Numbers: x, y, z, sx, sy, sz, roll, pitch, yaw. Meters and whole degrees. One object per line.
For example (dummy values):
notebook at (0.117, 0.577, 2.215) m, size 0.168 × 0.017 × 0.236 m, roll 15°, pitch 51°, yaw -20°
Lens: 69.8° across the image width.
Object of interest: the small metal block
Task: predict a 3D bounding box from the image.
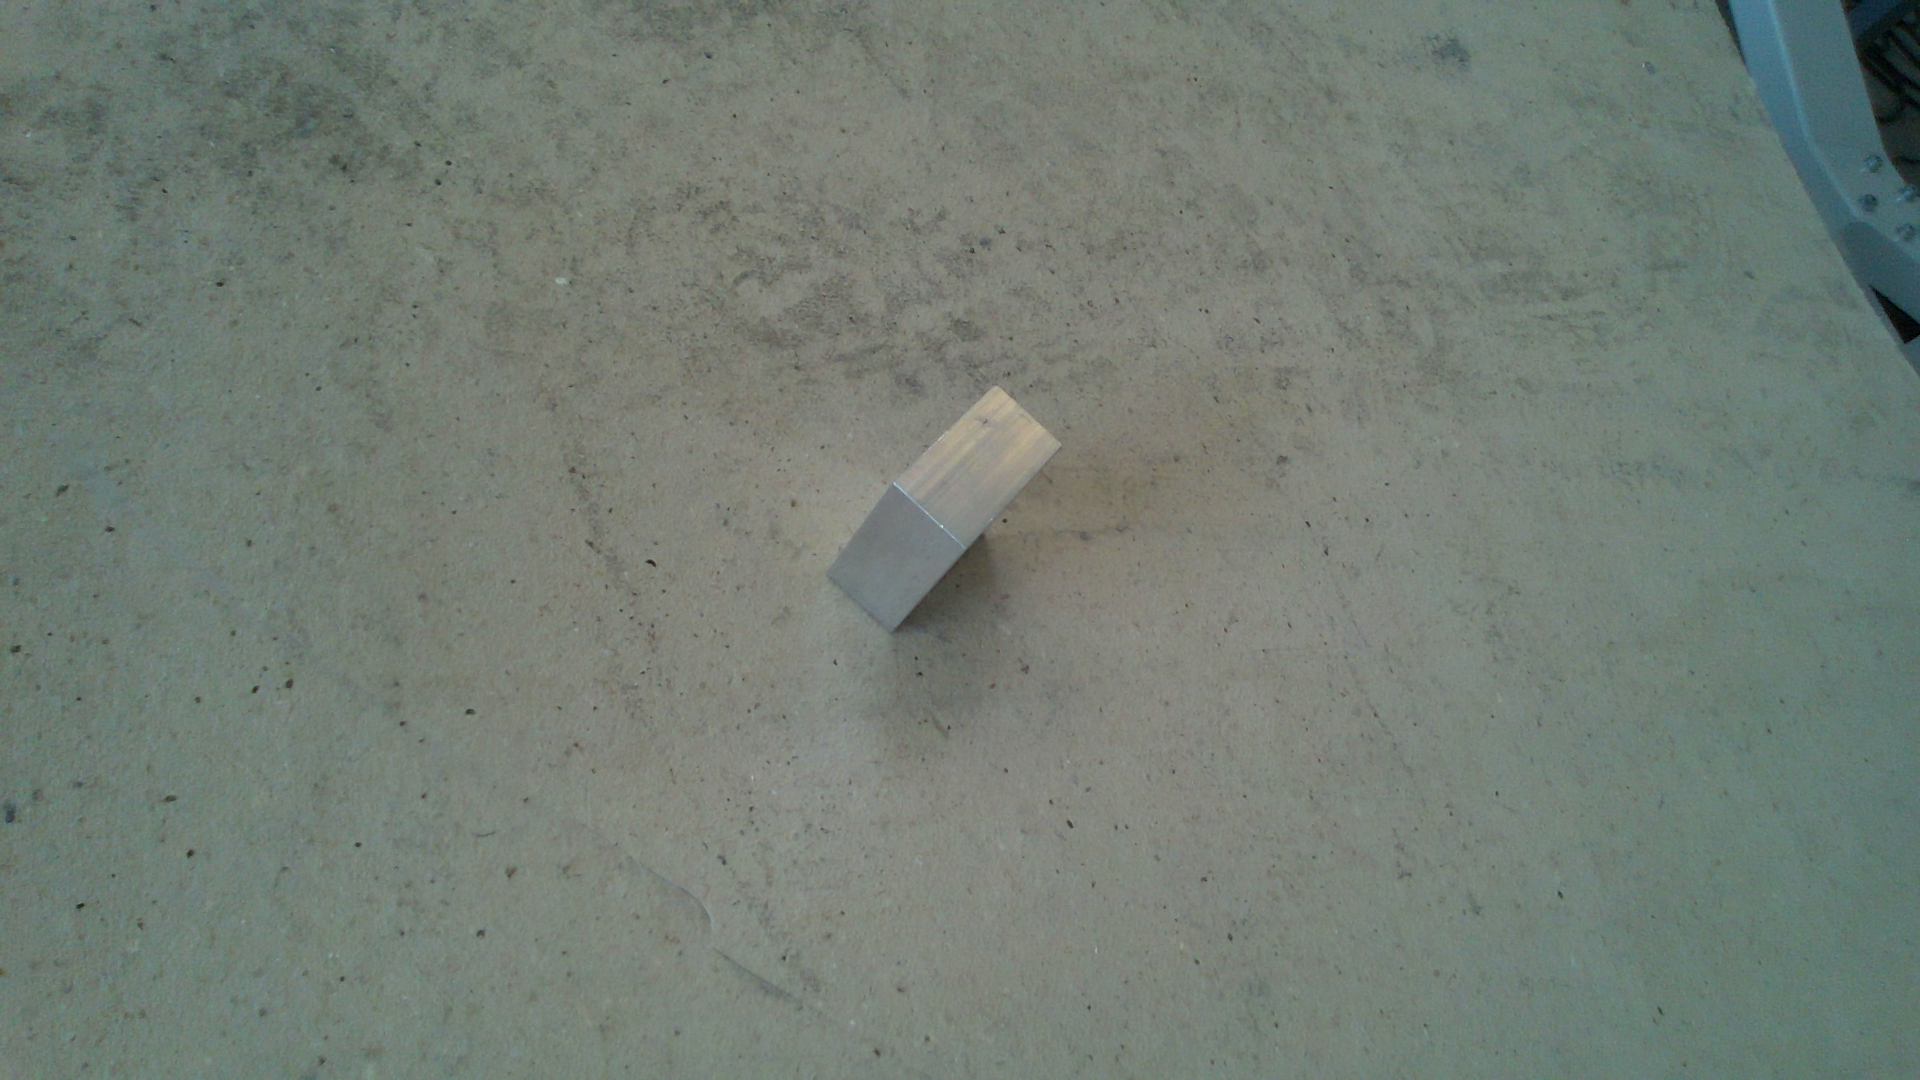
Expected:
small metal block at (-0.005, -0.008, 0.376) m, size 0.025 × 0.050 × 0.050 m, roll 42°, pitch 51°, yaw 1°
